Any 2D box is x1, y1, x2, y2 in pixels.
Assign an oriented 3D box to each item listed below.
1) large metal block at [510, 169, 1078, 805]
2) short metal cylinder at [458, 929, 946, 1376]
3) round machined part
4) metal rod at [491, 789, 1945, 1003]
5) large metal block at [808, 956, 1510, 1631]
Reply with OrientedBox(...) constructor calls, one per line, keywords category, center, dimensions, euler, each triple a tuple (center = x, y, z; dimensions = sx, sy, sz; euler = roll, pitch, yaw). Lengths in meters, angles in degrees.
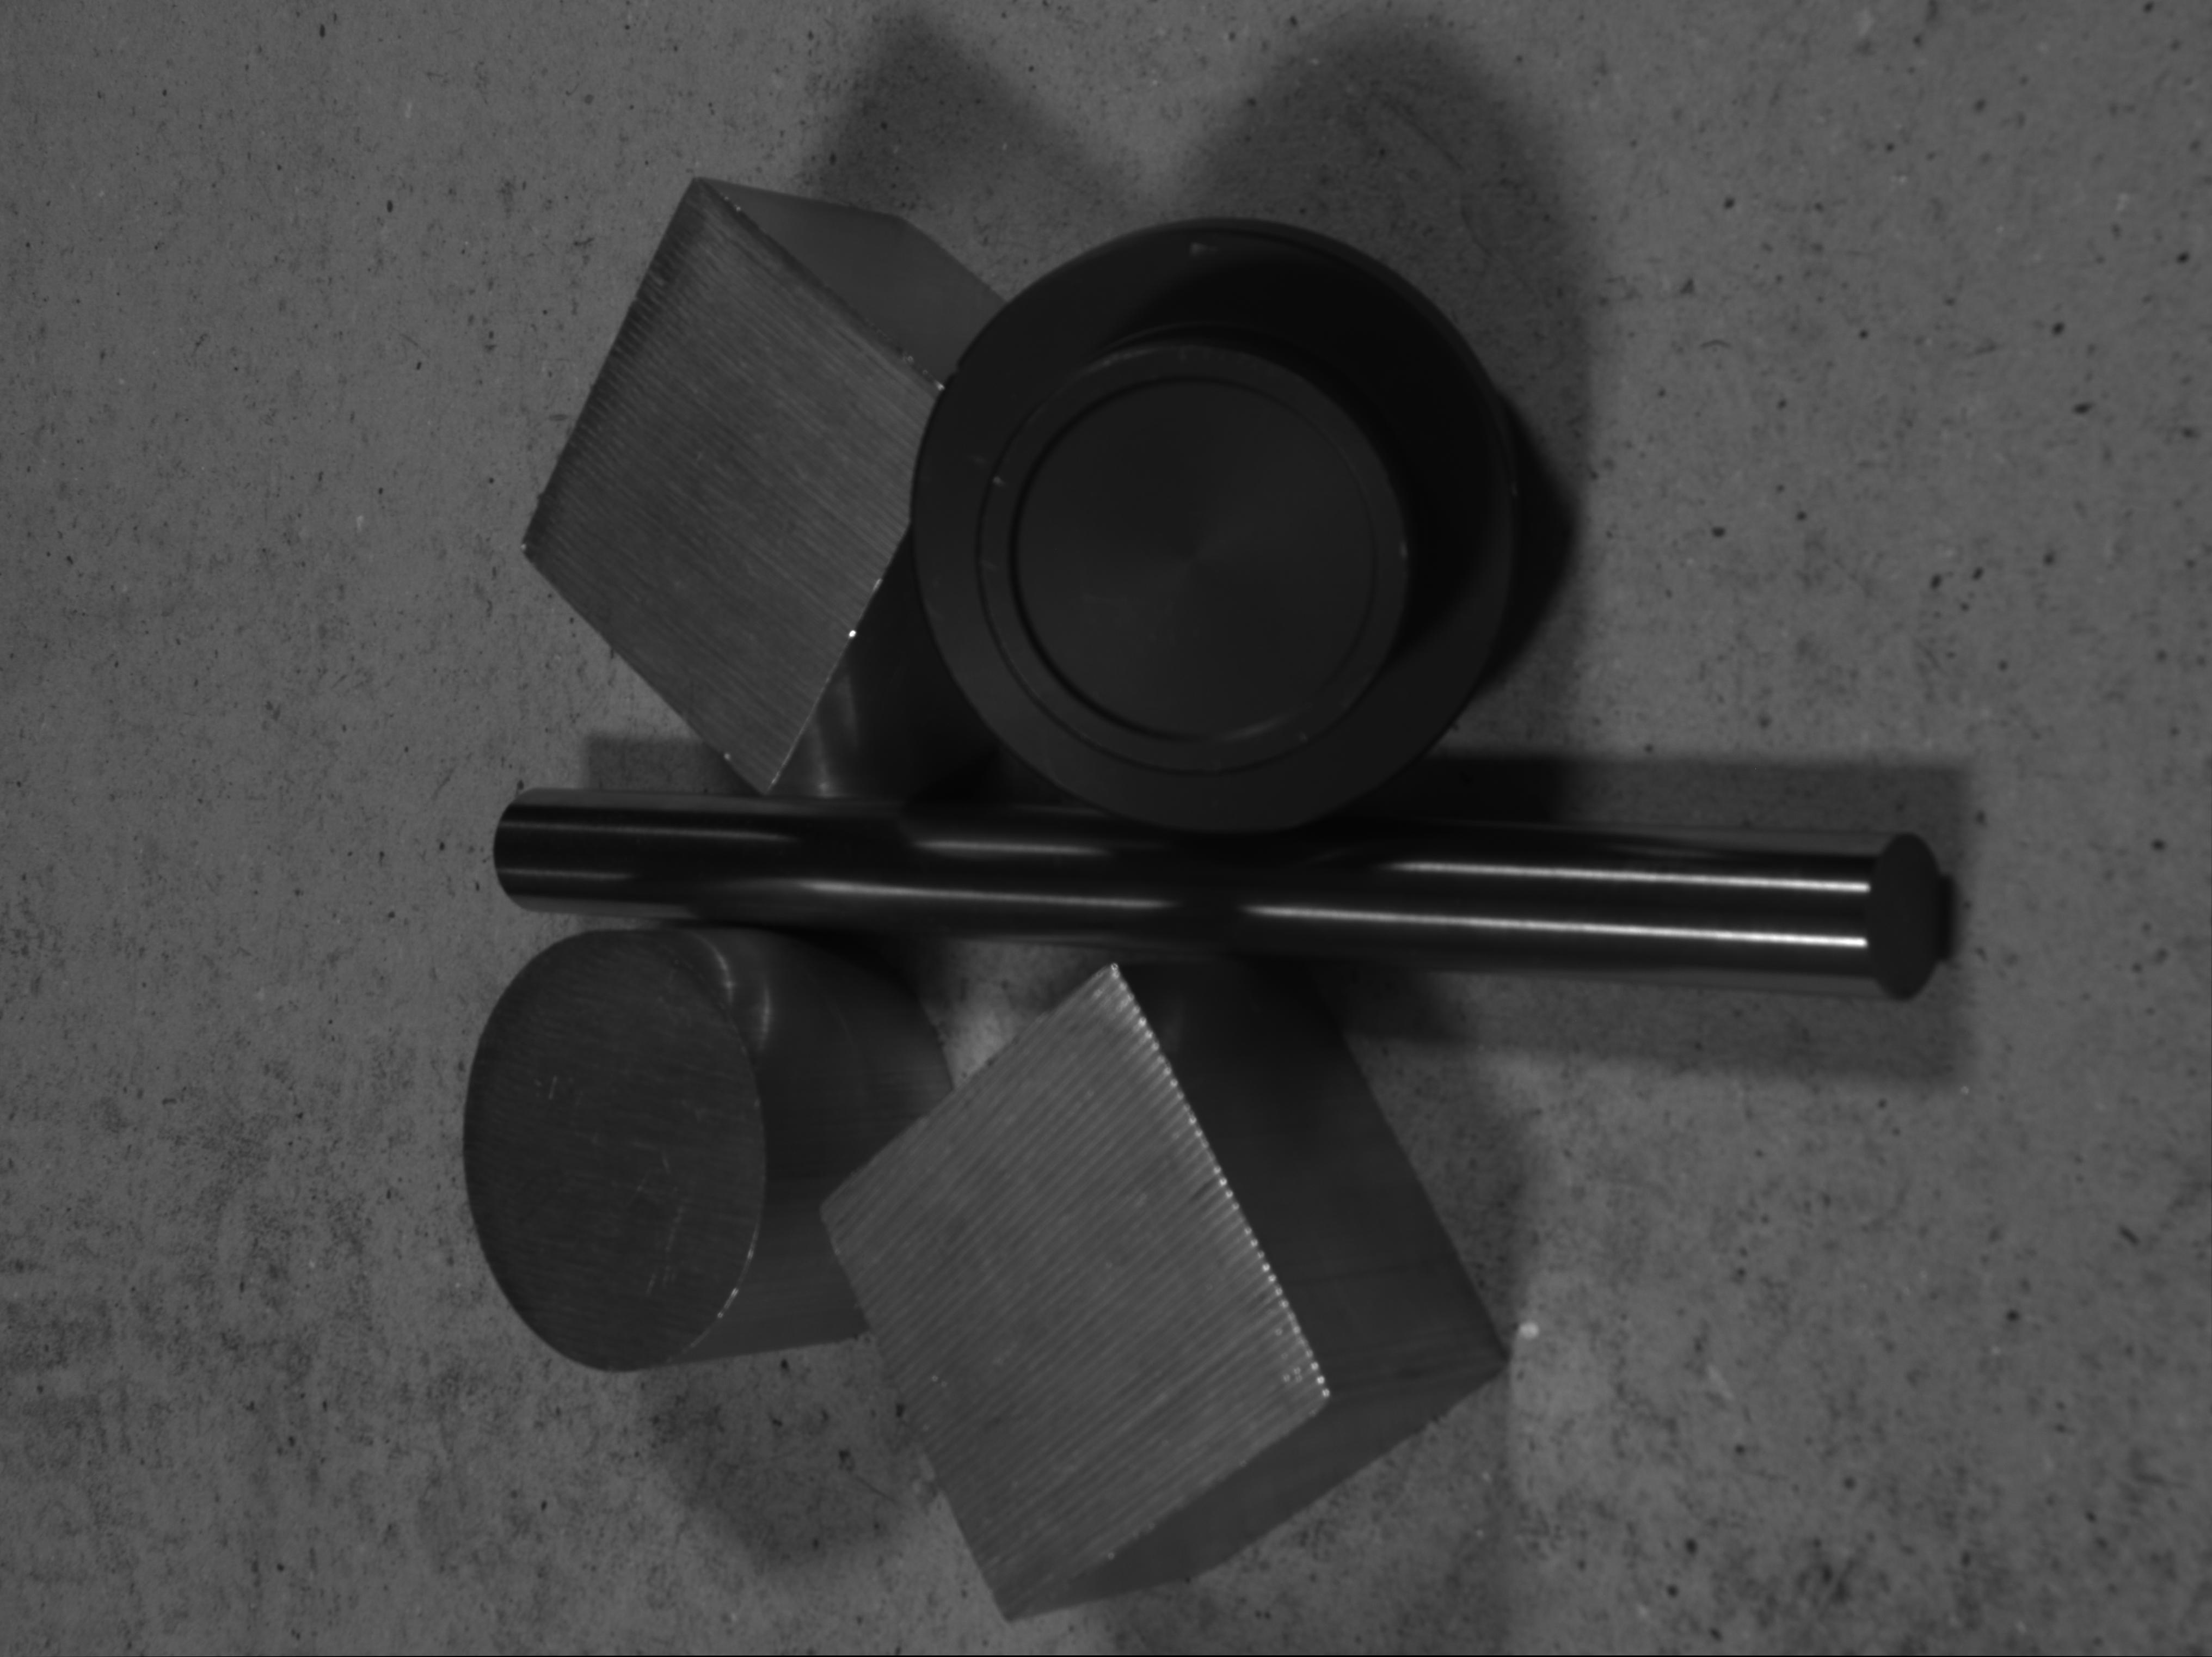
OrientedBox(category="large metal block", center=(-0.051, -0.060, 0.659), dimensions=(0.080, 0.050, 0.080), euler=(44, 116, 31))
OrientedBox(category="short metal cylinder", center=(-0.075, 0.059, 0.681), dimensions=(0.080, 0.050, 0.080), euler=(0, 90, 39))
OrientedBox(category="round machined part", center=(0.015, -0.046, 0.583), dimensions=(0.098, 0.042, 0.098), euler=(3, 105, 11))
OrientedBox(category="metal rod", center=(0.003, 0.009, 0.636), dimensions=(0.299, 0.025, 0.025), euler=(2, 91, 39))
OrientedBox(category="large metal block", center=(0.007, 0.077, 0.614), dimensions=(0.080, 0.050, 0.080), euler=(-40, 66, 32))
